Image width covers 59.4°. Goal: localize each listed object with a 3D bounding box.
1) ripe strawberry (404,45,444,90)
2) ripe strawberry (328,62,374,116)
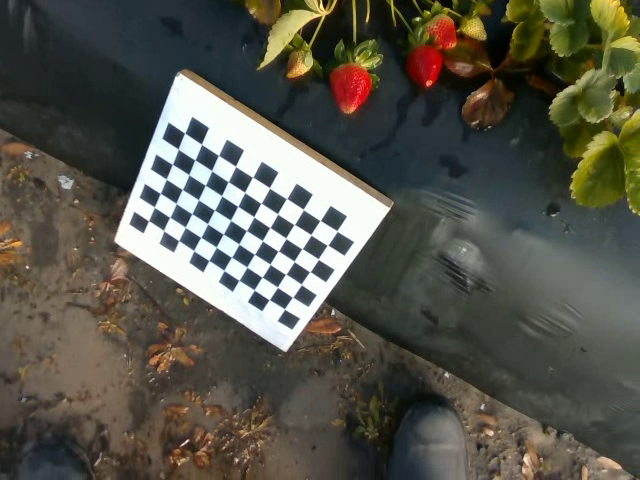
[{"bbox_3d":[0.114,-0.189,0.618,0.045,0.055,0.042,-26,-36,29],"label":"ripe strawberry"},{"bbox_3d":[0.031,-0.167,0.610,0.050,0.065,0.049,-2,-30,22],"label":"ripe strawberry"}]
